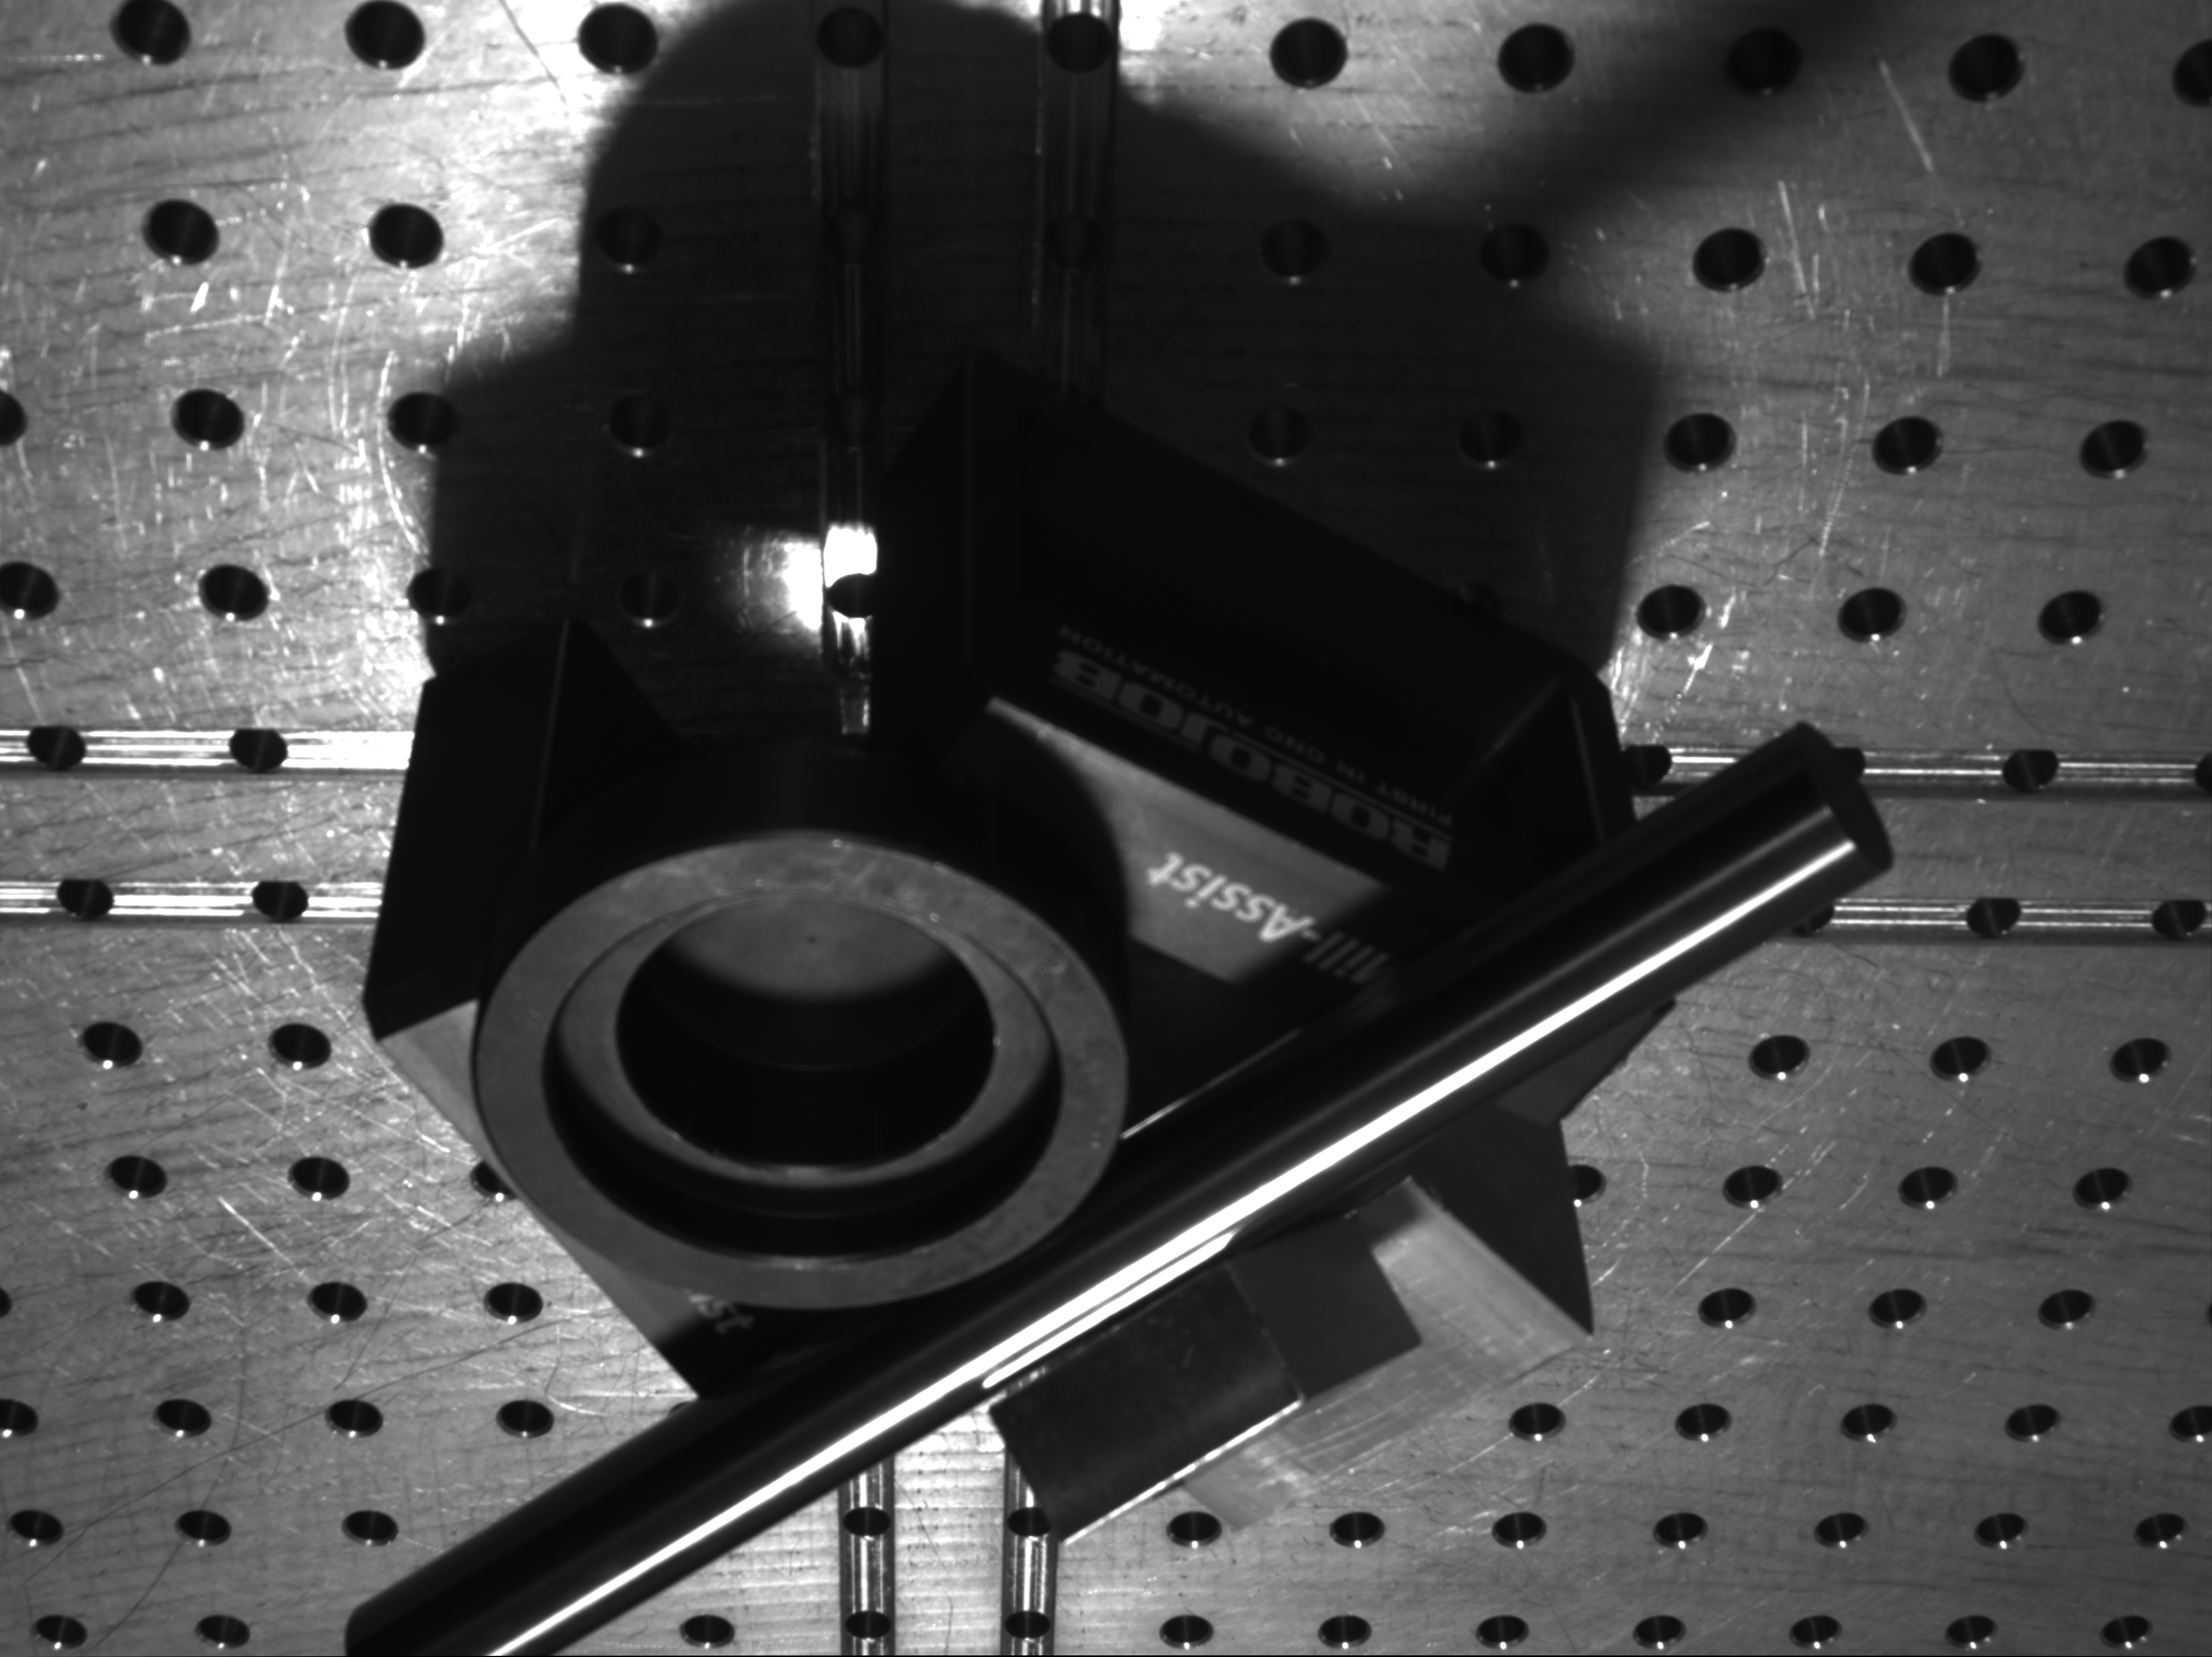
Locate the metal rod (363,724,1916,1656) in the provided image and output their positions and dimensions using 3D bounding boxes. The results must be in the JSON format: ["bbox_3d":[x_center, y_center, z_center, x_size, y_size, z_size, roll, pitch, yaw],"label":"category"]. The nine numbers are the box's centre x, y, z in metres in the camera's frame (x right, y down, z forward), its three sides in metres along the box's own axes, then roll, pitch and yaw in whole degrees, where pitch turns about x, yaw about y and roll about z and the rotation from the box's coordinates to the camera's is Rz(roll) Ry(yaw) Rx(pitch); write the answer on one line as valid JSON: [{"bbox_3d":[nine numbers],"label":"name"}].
[{"bbox_3d":[-0.006,0.071,0.583,0.300,0.025,0.025,-33,123,23],"label":"metal rod"}]

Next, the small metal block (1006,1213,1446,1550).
[{"bbox_3d":[0.020,0.089,0.594,0.050,0.050,0.025,-35,78,24],"label":"small metal block"}]

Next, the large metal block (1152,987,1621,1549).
[{"bbox_3d":[0.041,0.069,0.661,0.080,0.080,0.050,-34,123,24],"label":"large metal block"}]

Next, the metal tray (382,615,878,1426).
[{"bbox_3d":[-0.069,0.039,0.629,0.030,0.090,0.130,-23,127,17],"label":"metal tray"}]

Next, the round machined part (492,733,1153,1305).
[{"bbox_3d":[-0.042,0.025,0.560,0.098,0.042,0.098,-1,130,-1],"label":"round machined part"}]

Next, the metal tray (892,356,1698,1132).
[{"bbox_3d":[0.030,-0.014,0.587,0.130,0.090,0.030,25,126,-21],"label":"metal tray"}]
